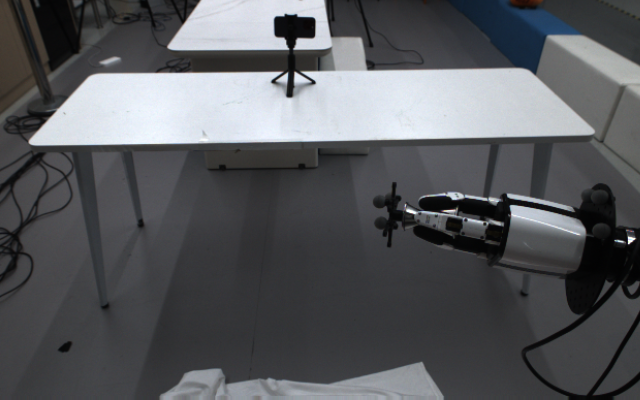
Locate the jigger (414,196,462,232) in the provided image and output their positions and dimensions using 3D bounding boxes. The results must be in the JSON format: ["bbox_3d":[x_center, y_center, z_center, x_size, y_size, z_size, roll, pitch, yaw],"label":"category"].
[{"bbox_3d":[0.152,0.020,0.638,0.071,0.043,0.043,5,34,19],"label":"jigger"}]
